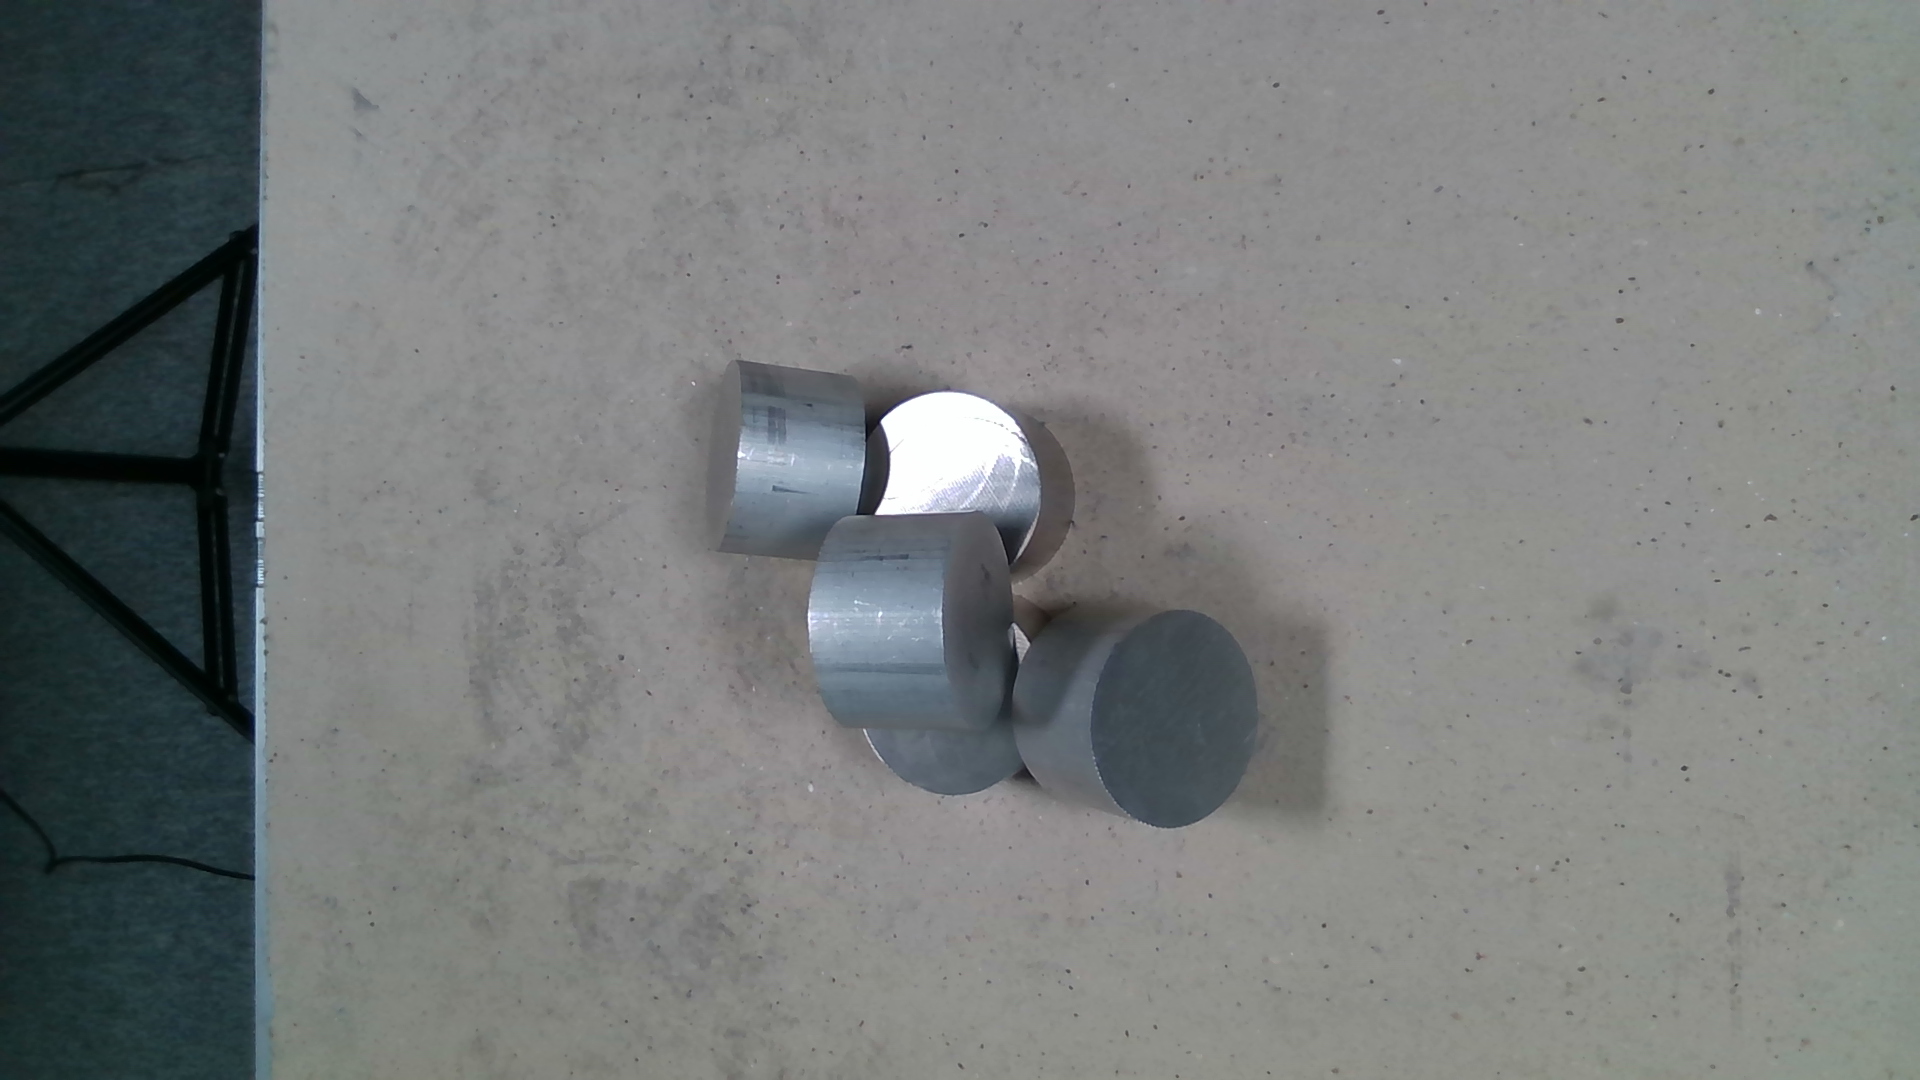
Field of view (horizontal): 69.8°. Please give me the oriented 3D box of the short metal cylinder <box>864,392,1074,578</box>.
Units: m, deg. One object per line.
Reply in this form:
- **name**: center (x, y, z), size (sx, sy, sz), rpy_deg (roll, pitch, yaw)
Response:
- **short metal cylinder**: center (0.002, -0.019, 0.571), size (0.080, 0.050, 0.080), rpy_deg (0, 90, 20)

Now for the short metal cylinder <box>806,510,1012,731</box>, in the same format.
- **short metal cylinder**: center (-0.016, 0.030, 0.509), size (0.050, 0.080, 0.080), rpy_deg (-2, 90, 20)

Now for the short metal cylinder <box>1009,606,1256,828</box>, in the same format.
- **short metal cylinder**: center (0.066, 0.065, 0.525), size (0.050, 0.080, 0.080), rpy_deg (1, 91, 59)

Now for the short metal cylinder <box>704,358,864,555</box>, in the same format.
- **short metal cylinder**: center (-0.075, -0.033, 0.577), size (0.050, 0.080, 0.080), rpy_deg (6, 93, -19)

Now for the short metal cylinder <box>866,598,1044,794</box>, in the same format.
- **short metal cylinder**: center (0.003, 0.061, 0.571), size (0.080, 0.050, 0.080), rpy_deg (0, 90, 20)
